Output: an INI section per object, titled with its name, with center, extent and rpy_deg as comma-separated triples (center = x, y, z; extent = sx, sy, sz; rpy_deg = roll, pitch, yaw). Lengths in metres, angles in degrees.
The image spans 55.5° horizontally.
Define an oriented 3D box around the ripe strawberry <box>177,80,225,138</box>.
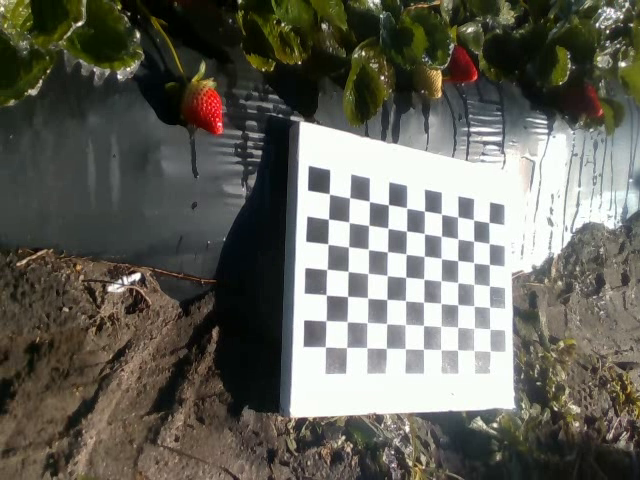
[ripe strawberry]
center = -0.095, -0.108, 0.506
extent = 0.039, 0.053, 0.040
rpy_deg = -19, -13, -32
